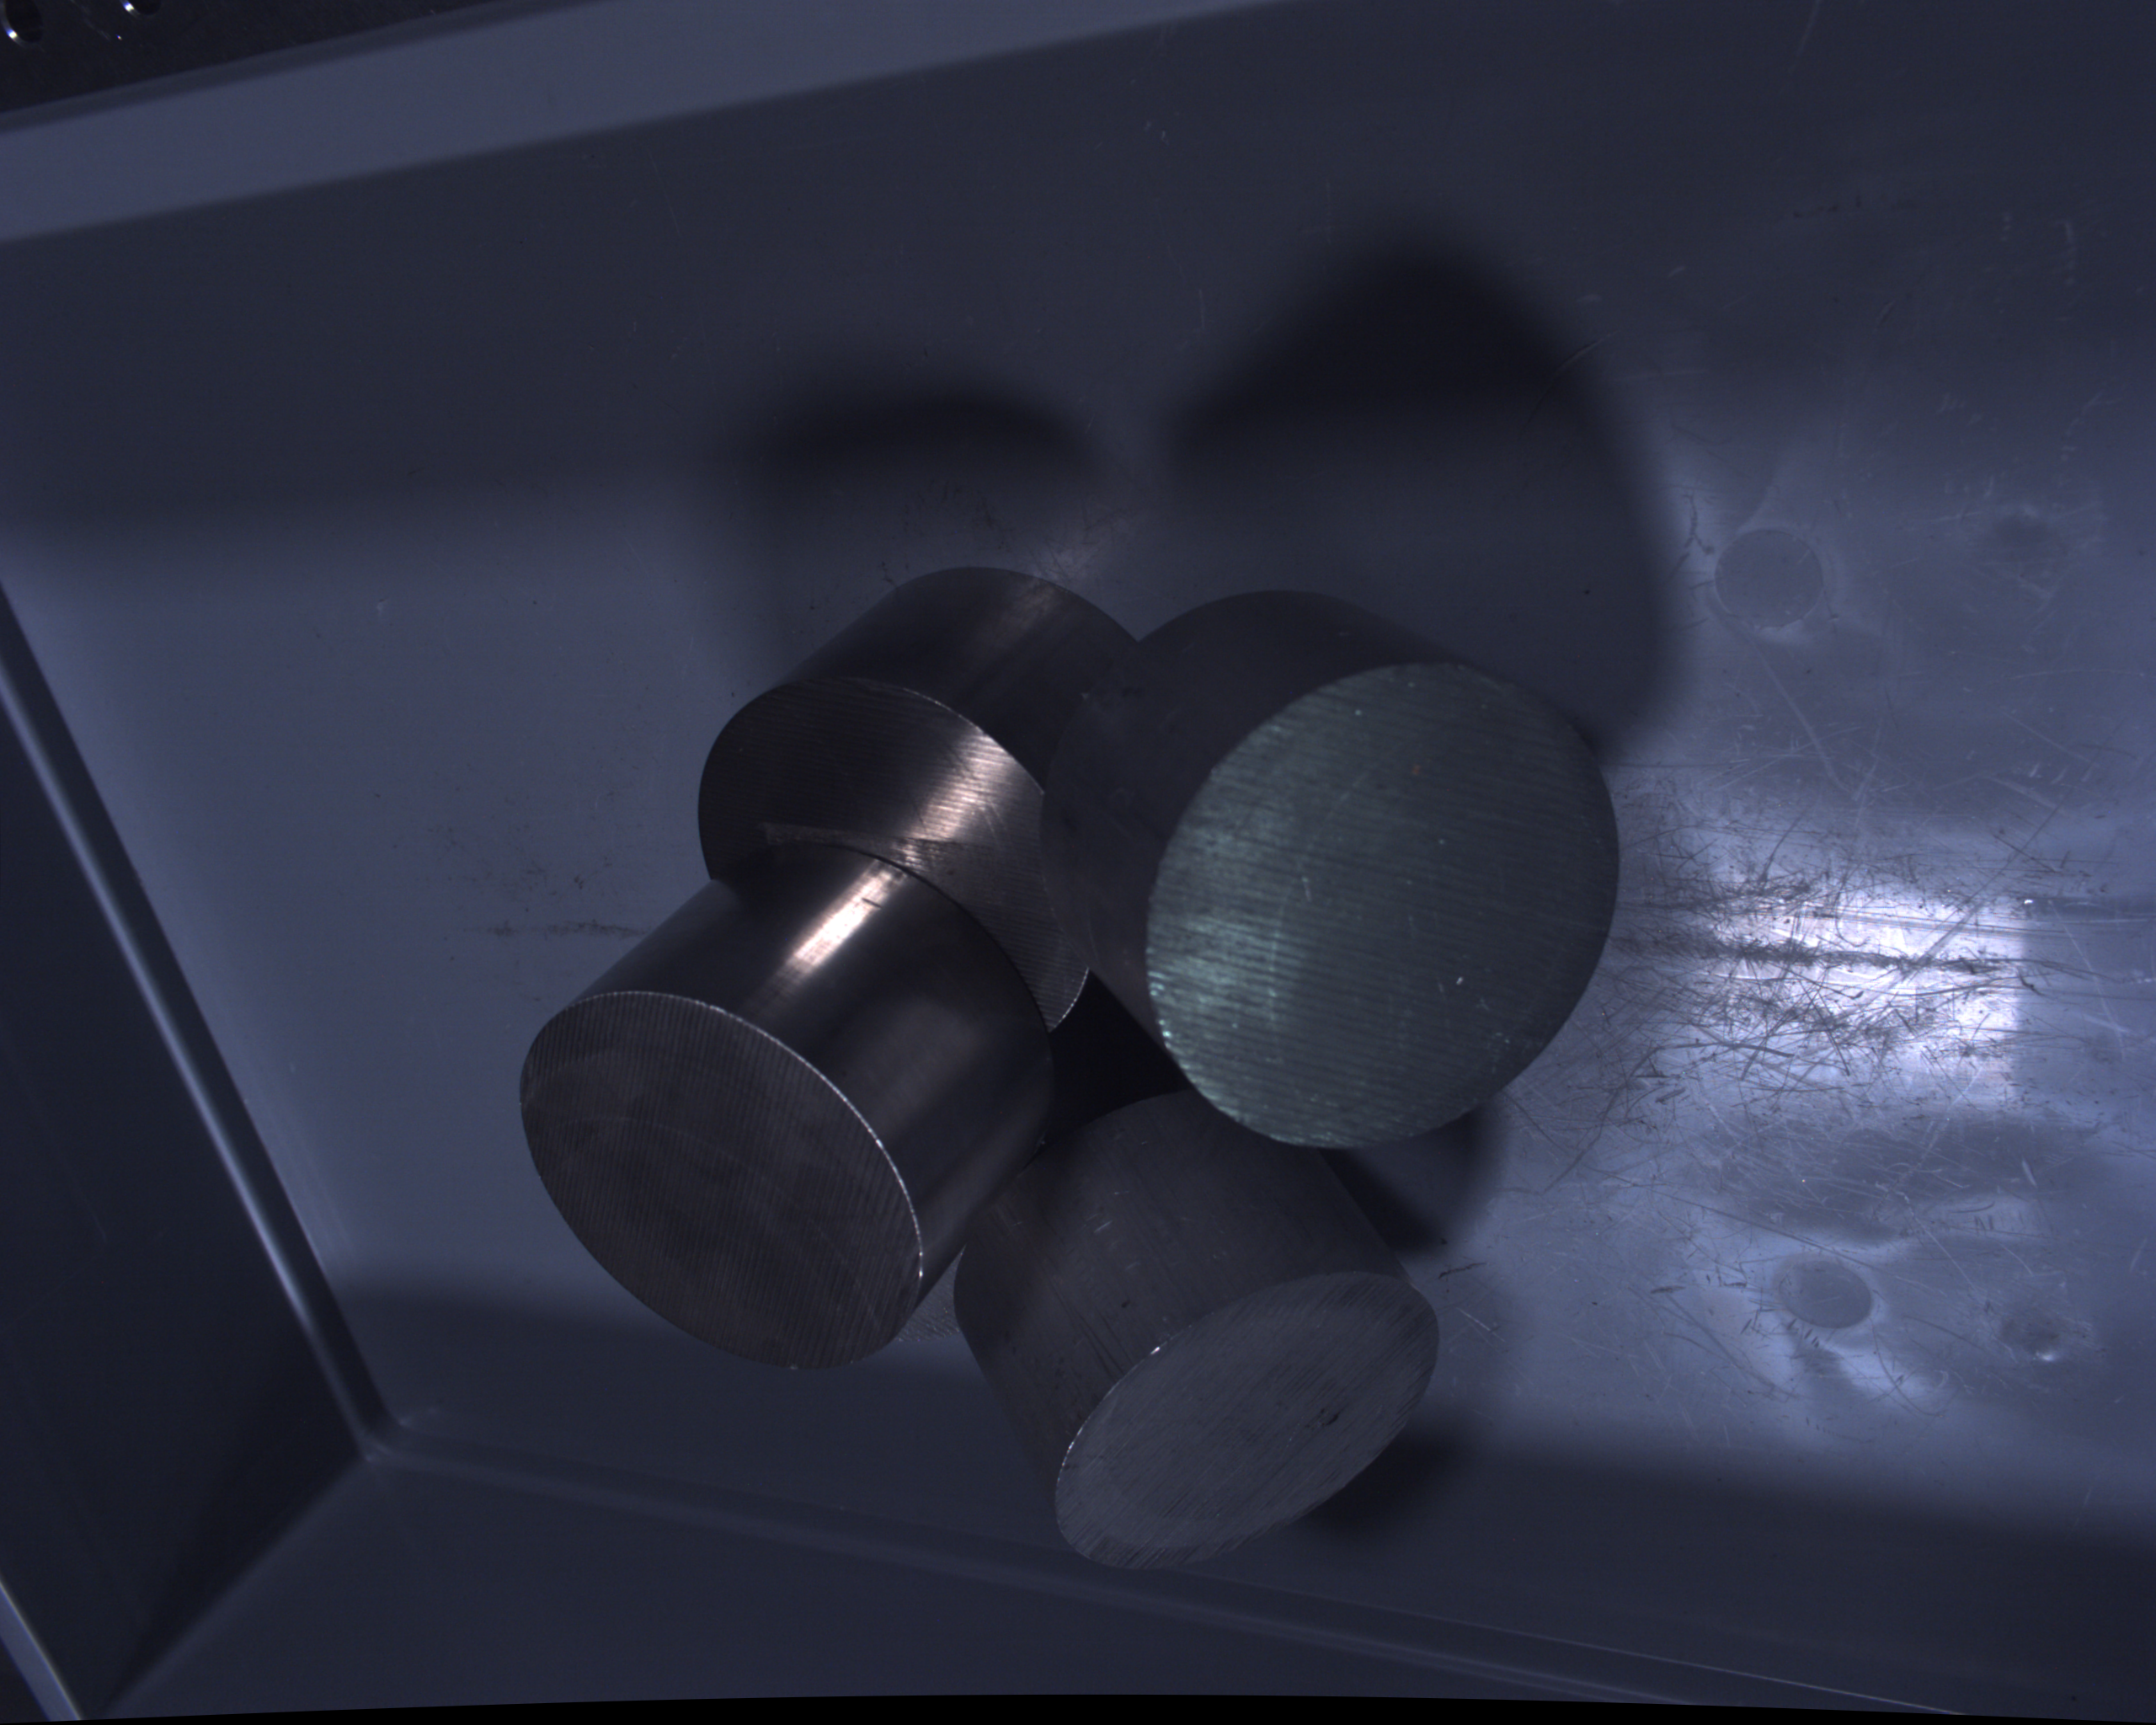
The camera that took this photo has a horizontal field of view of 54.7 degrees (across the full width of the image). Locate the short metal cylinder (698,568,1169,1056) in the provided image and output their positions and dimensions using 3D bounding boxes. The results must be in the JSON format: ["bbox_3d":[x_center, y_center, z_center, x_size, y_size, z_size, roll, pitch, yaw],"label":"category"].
[{"bbox_3d":[-0.024,-0.009,0.395,0.080,0.050,0.079,13,124,20],"label":"short metal cylinder"}]

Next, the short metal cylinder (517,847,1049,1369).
[{"bbox_3d":[-0.052,0.044,0.377,0.080,0.050,0.079,13,124,20],"label":"short metal cylinder"}]

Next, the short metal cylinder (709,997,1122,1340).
[{"bbox_3d":[-0.038,0.054,0.443,0.080,0.050,0.079,13,124,20],"label":"short metal cylinder"}]

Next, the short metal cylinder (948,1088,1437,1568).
[{"bbox_3d":[0.022,0.090,0.405,0.050,0.081,0.079,54,144,44],"label":"short metal cylinder"}]

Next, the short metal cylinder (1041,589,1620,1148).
[{"bbox_3d":[0.040,0.000,0.342,0.081,0.050,0.079,-7,111,-17],"label":"short metal cylinder"}]
